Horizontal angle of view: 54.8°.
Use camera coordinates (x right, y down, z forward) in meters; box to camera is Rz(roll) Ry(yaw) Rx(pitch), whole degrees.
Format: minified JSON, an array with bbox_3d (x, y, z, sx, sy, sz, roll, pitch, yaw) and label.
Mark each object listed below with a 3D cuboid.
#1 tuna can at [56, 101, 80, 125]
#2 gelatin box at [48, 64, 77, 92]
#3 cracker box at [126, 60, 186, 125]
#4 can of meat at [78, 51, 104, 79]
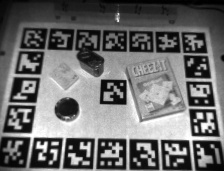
[{"bbox_3d":[-0.160,0.103,0.796,0.086,0.034,0.085,0,73,0],"label":"tuna can"},{"bbox_3d":[-0.192,-0.029,0.849,0.089,0.030,0.073,41,71,10],"label":"gelatin box"},{"bbox_3d":[0.162,0.023,0.823,0.165,0.072,0.212,-14,69,-8],"label":"cracker box"},{"bbox_3d":[-0.079,-0.079,0.851,0.101,0.084,0.058,29,71,11],"label":"can of meat"}]
